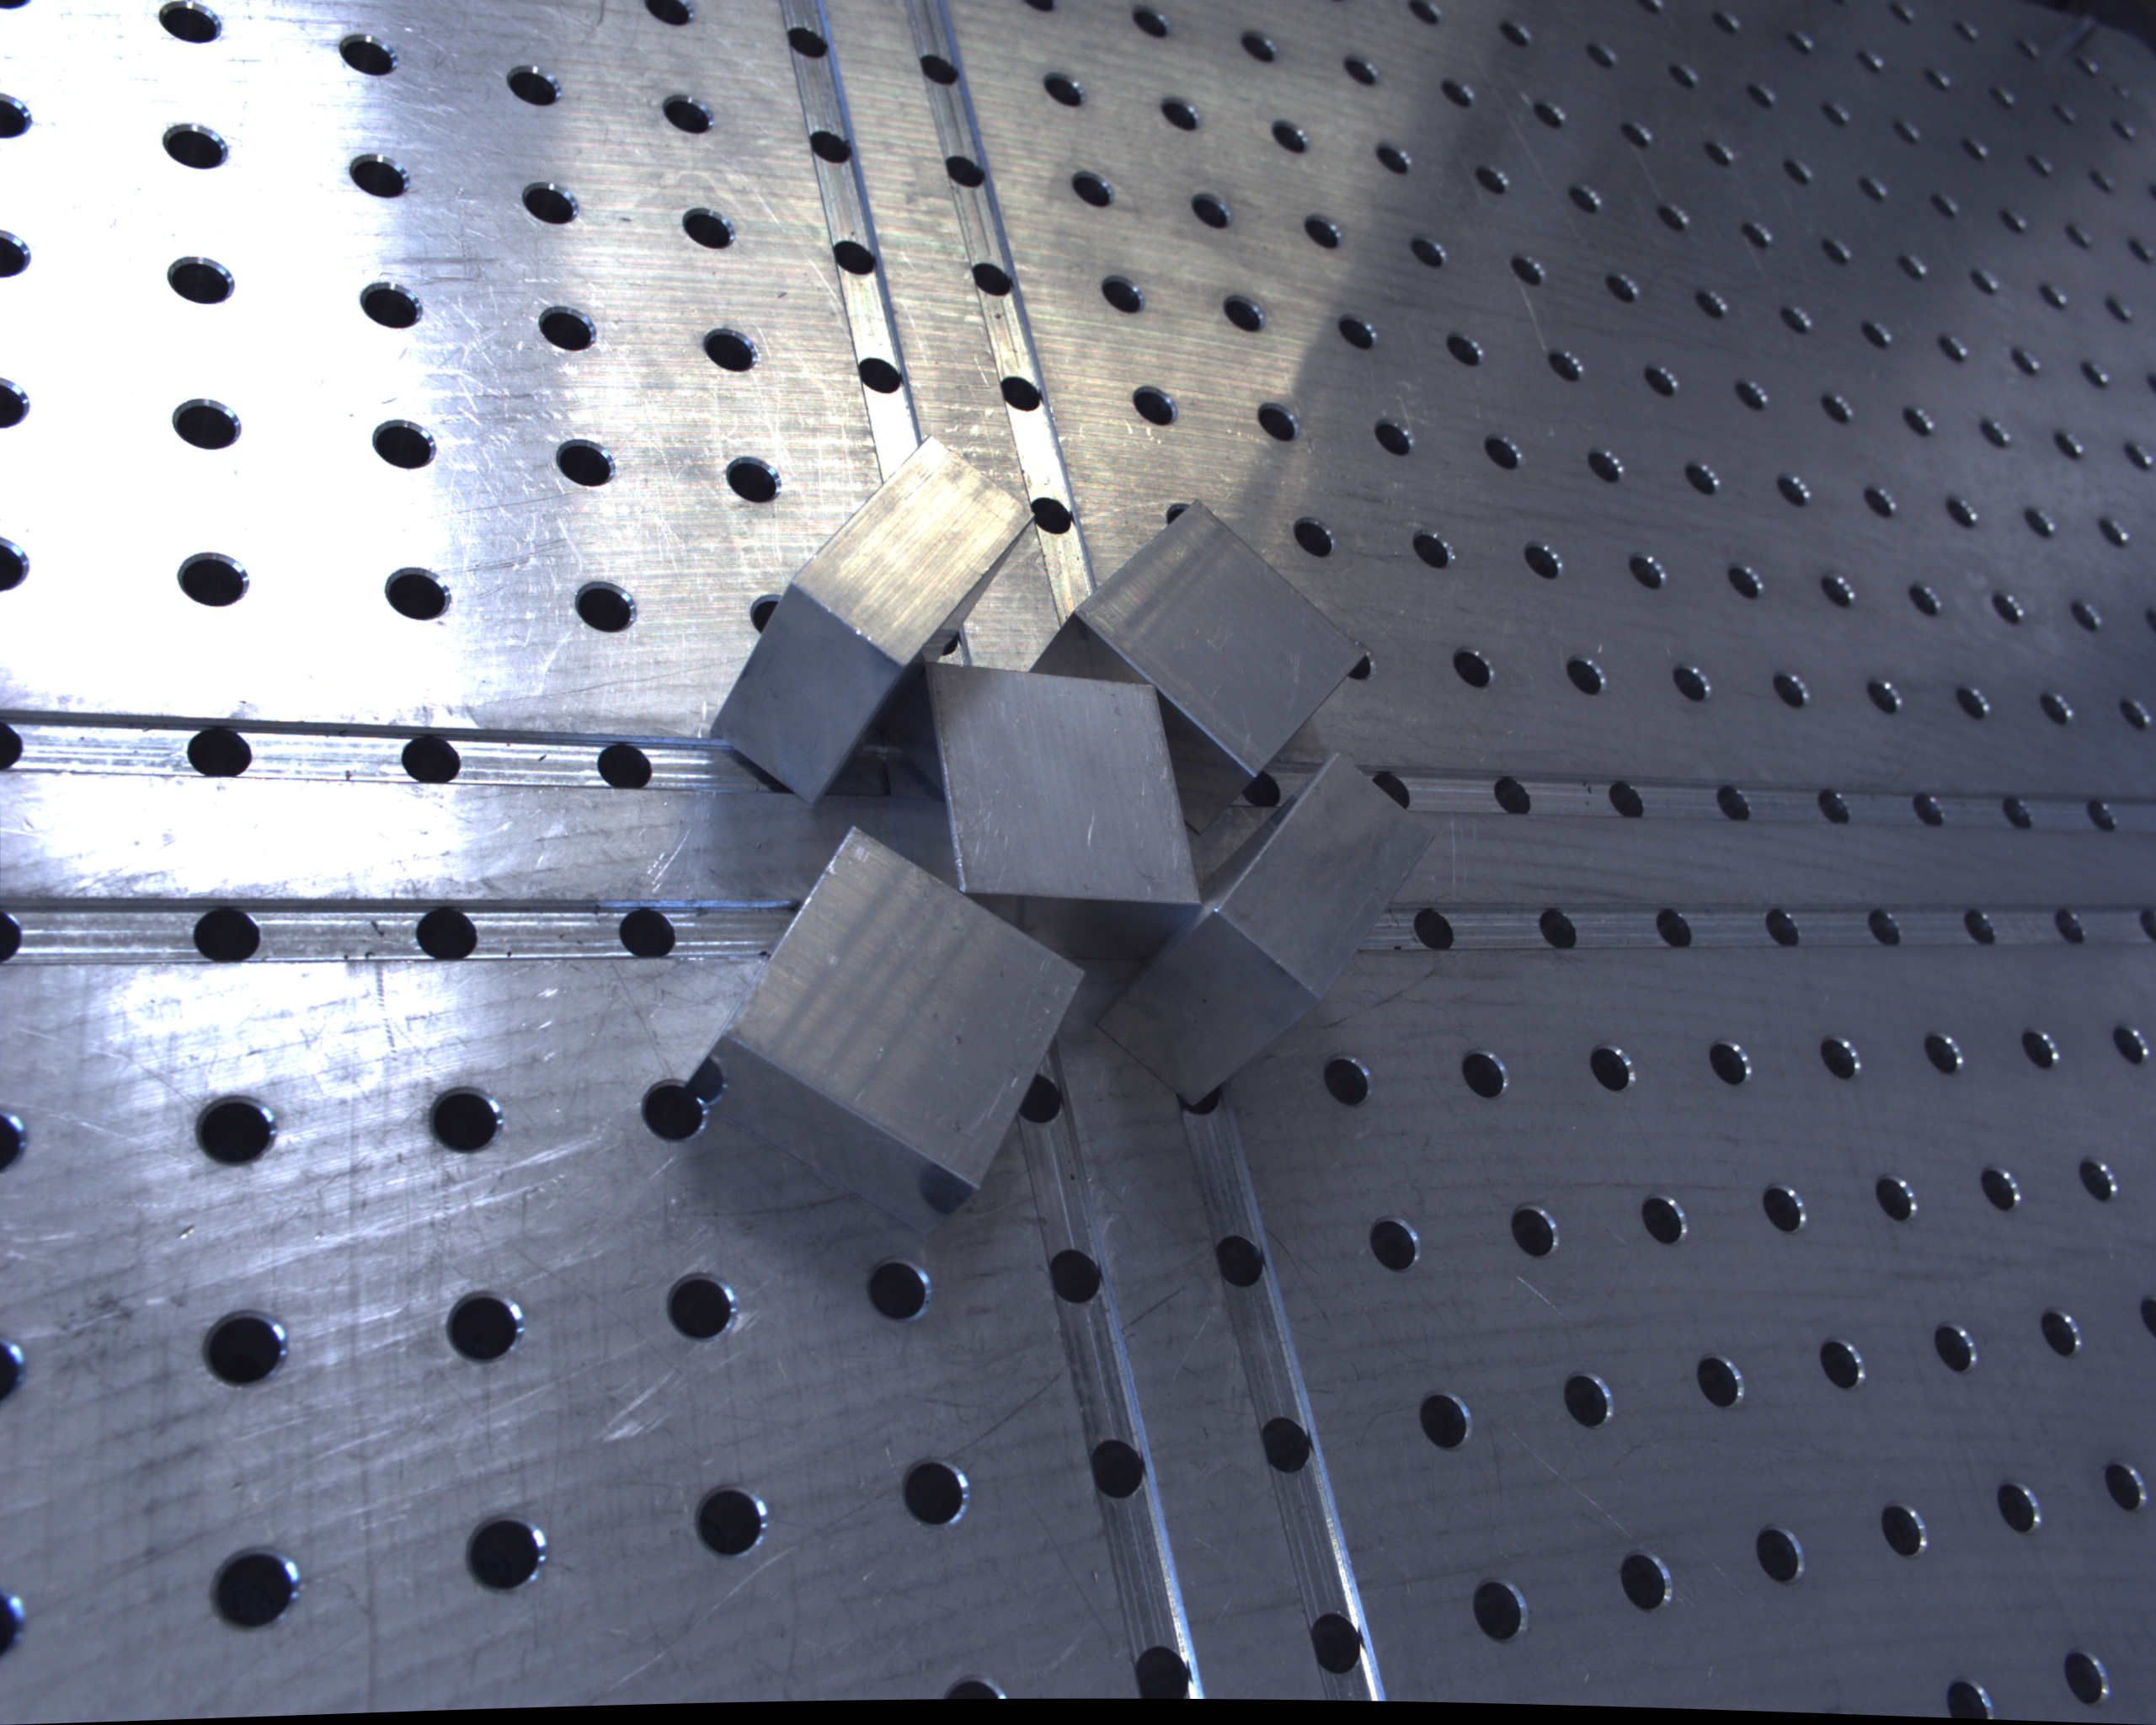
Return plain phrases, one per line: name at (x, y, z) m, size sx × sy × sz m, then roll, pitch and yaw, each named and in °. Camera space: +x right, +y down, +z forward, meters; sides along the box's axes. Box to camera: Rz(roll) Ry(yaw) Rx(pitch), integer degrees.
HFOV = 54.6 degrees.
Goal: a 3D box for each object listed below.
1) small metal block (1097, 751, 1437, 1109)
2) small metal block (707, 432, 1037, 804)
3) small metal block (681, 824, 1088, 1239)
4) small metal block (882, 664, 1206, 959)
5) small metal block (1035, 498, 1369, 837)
small metal block at (0.036, 0.013, 0.402) m, size 0.025 × 0.050 × 0.050 m, roll 41°, pitch 51°, yaw 0°
small metal block at (-0.040, -0.046, 0.398) m, size 0.025 × 0.050 × 0.050 m, roll 38°, pitch 52°, yaw -4°
small metal block at (-0.033, 0.030, 0.371) m, size 0.050 × 0.025 × 0.050 m, roll 33°, pitch 51°, yaw -7°
small metal block at (-0.007, -0.009, 0.409) m, size 0.050 × 0.025 × 0.050 m, roll 3°, pitch 59°, yaw -25°
small metal block at (0.026, -0.042, 0.447) m, size 0.050 × 0.025 × 0.050 m, roll 43°, pitch 51°, yaw 1°
